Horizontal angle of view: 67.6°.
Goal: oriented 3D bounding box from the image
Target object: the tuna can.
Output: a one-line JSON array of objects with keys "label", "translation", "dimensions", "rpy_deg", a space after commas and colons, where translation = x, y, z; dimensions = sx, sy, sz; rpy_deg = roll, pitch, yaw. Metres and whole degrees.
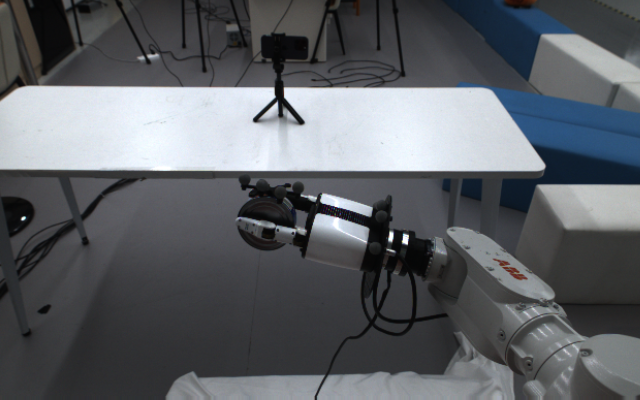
[{"label": "tuna can", "translation": [-0.078, 0.030, 0.722], "dimensions": [0.085, 0.085, 0.034], "rpy_deg": [5, 17, 5]}]
